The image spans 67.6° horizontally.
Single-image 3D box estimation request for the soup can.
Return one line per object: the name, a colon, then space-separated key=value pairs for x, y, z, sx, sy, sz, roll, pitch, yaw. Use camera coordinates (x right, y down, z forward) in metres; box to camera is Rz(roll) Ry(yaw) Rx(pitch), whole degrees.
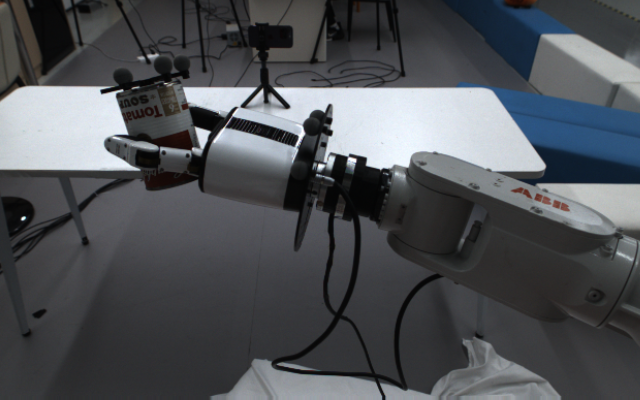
soup can: x=-0.163 y=-0.068 z=0.509 sx=0.067 sy=0.101 sz=0.067 roll=-13 pitch=17 yaw=4
